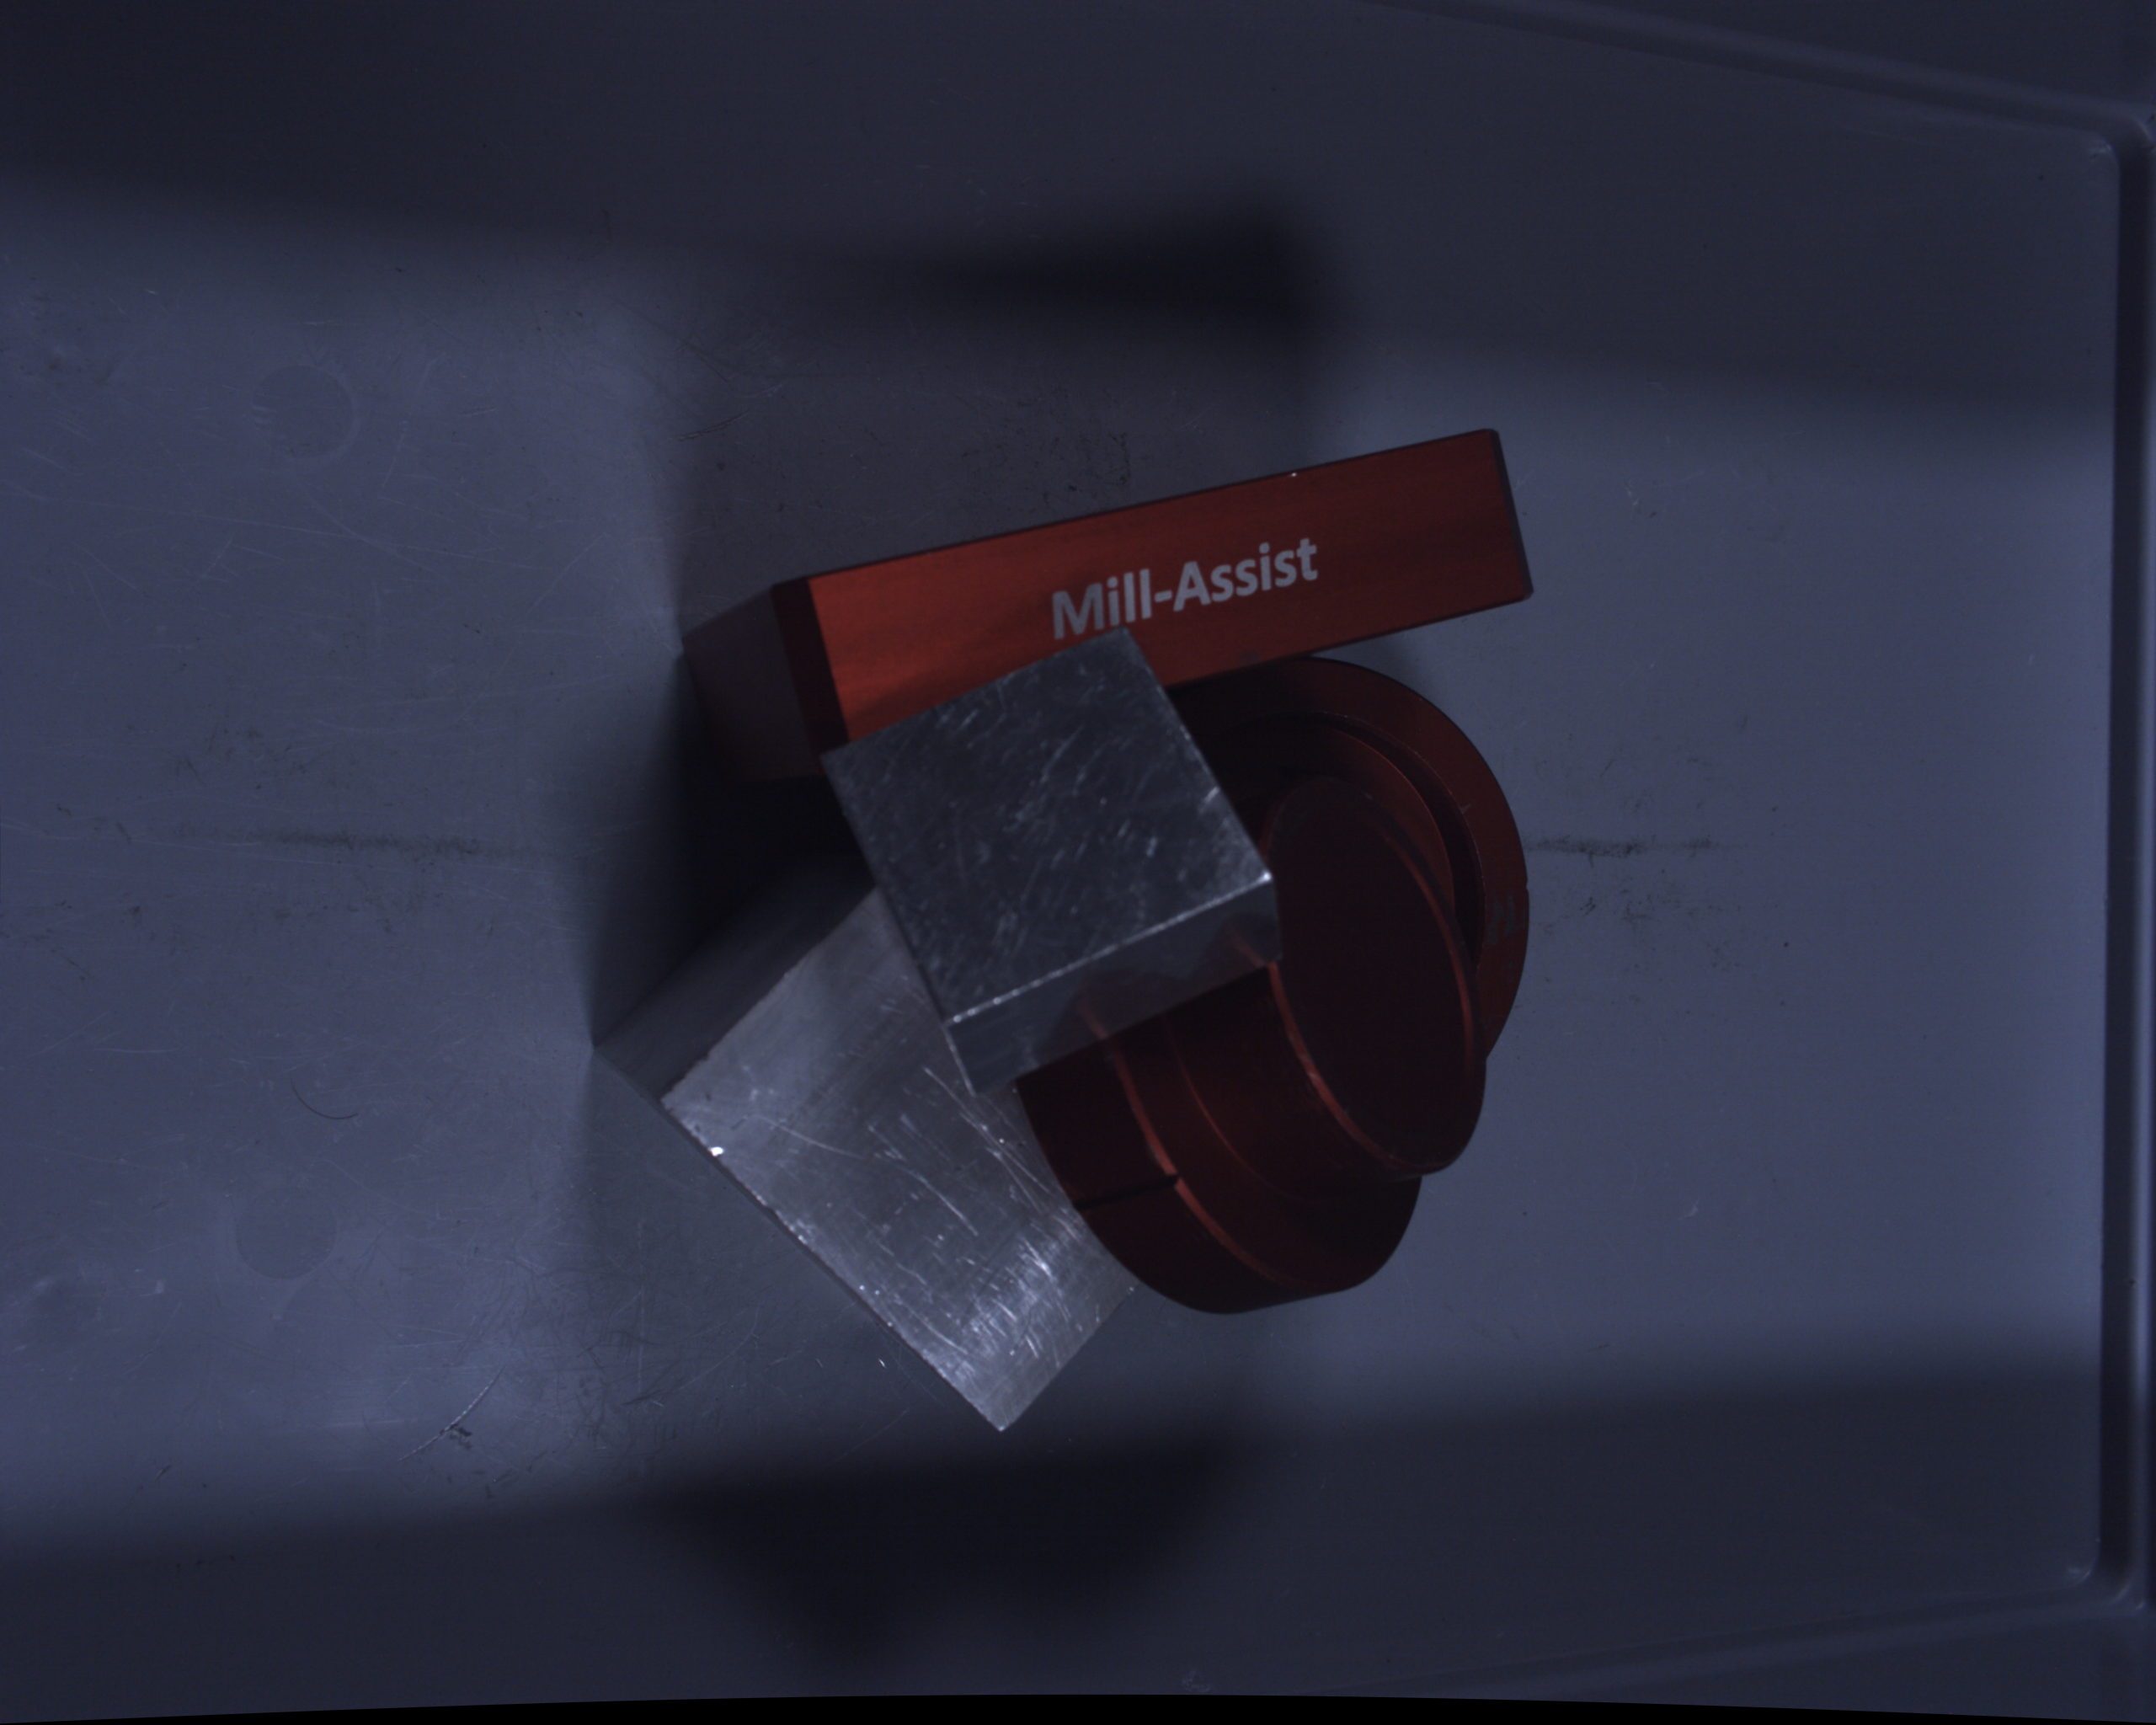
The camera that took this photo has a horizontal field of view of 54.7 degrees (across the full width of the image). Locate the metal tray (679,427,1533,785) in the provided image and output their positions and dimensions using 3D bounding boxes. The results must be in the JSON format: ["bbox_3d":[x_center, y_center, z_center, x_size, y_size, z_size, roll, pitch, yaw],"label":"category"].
[{"bbox_3d":[0.002,-0.045,0.375,0.131,0.090,0.030,-16,96,-20],"label":"metal tray"}]

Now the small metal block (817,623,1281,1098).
[{"bbox_3d":[-0.004,-0.001,0.310,0.050,0.025,0.050,-24,60,-6],"label":"small metal block"}]

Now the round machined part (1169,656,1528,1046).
[{"bbox_3d":[0.036,0.009,0.416,0.099,0.042,0.097,0,90,-21],"label":"round machined part"}]

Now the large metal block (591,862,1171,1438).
[{"bbox_3d":[-0.034,0.046,0.368,0.050,0.080,0.080,-46,105,-14],"label":"large metal block"}]

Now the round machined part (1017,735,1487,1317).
[{"bbox_3d":[0.034,0.024,0.352,0.098,0.042,0.098,32,48,-43],"label":"round machined part"}]
